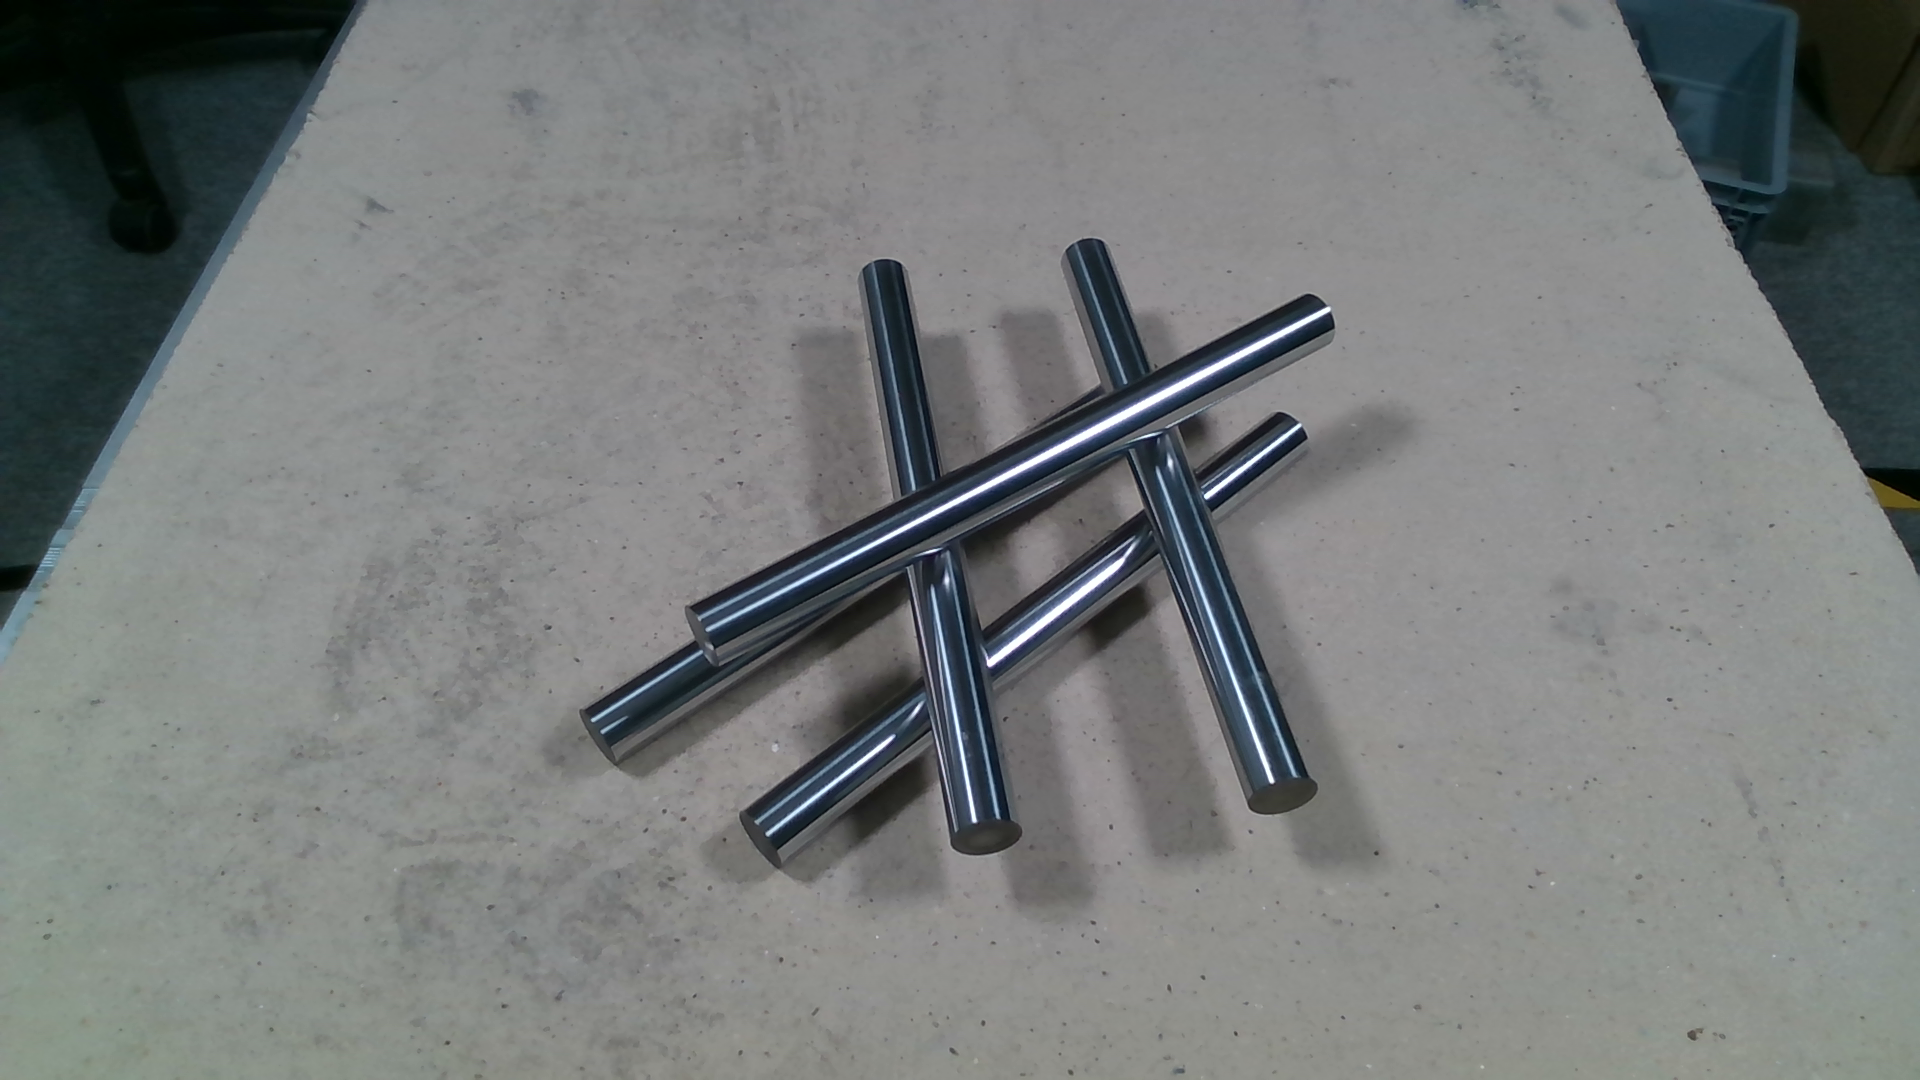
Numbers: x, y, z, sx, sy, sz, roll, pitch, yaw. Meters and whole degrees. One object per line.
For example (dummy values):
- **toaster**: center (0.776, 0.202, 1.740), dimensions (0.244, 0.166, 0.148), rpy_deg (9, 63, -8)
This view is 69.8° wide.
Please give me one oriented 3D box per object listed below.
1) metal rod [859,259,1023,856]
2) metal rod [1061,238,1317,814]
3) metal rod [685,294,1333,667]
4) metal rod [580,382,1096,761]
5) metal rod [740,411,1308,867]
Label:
- **metal rod**: center (-0.014, -0.011, 0.565), dimensions (0.025, 0.025, 0.299), rpy_deg (-7, 50, -6)
- **metal rod**: center (0.087, -0.024, 0.575), dimensions (0.025, 0.025, 0.299), rpy_deg (-8, 51, -6)
- **metal rod**: center (0.030, -0.030, 0.548), dimensions (0.300, 0.025, 0.025), rpy_deg (-28, 55, -21)
- **metal rod**: center (-0.025, -0.001, 0.587), dimensions (0.300, 0.025, 0.025), rpy_deg (-33, 58, -25)
- **metal rod**: center (0.038, 0.030, 0.562), dimensions (0.300, 0.025, 0.025), rpy_deg (-35, 58, -26)
